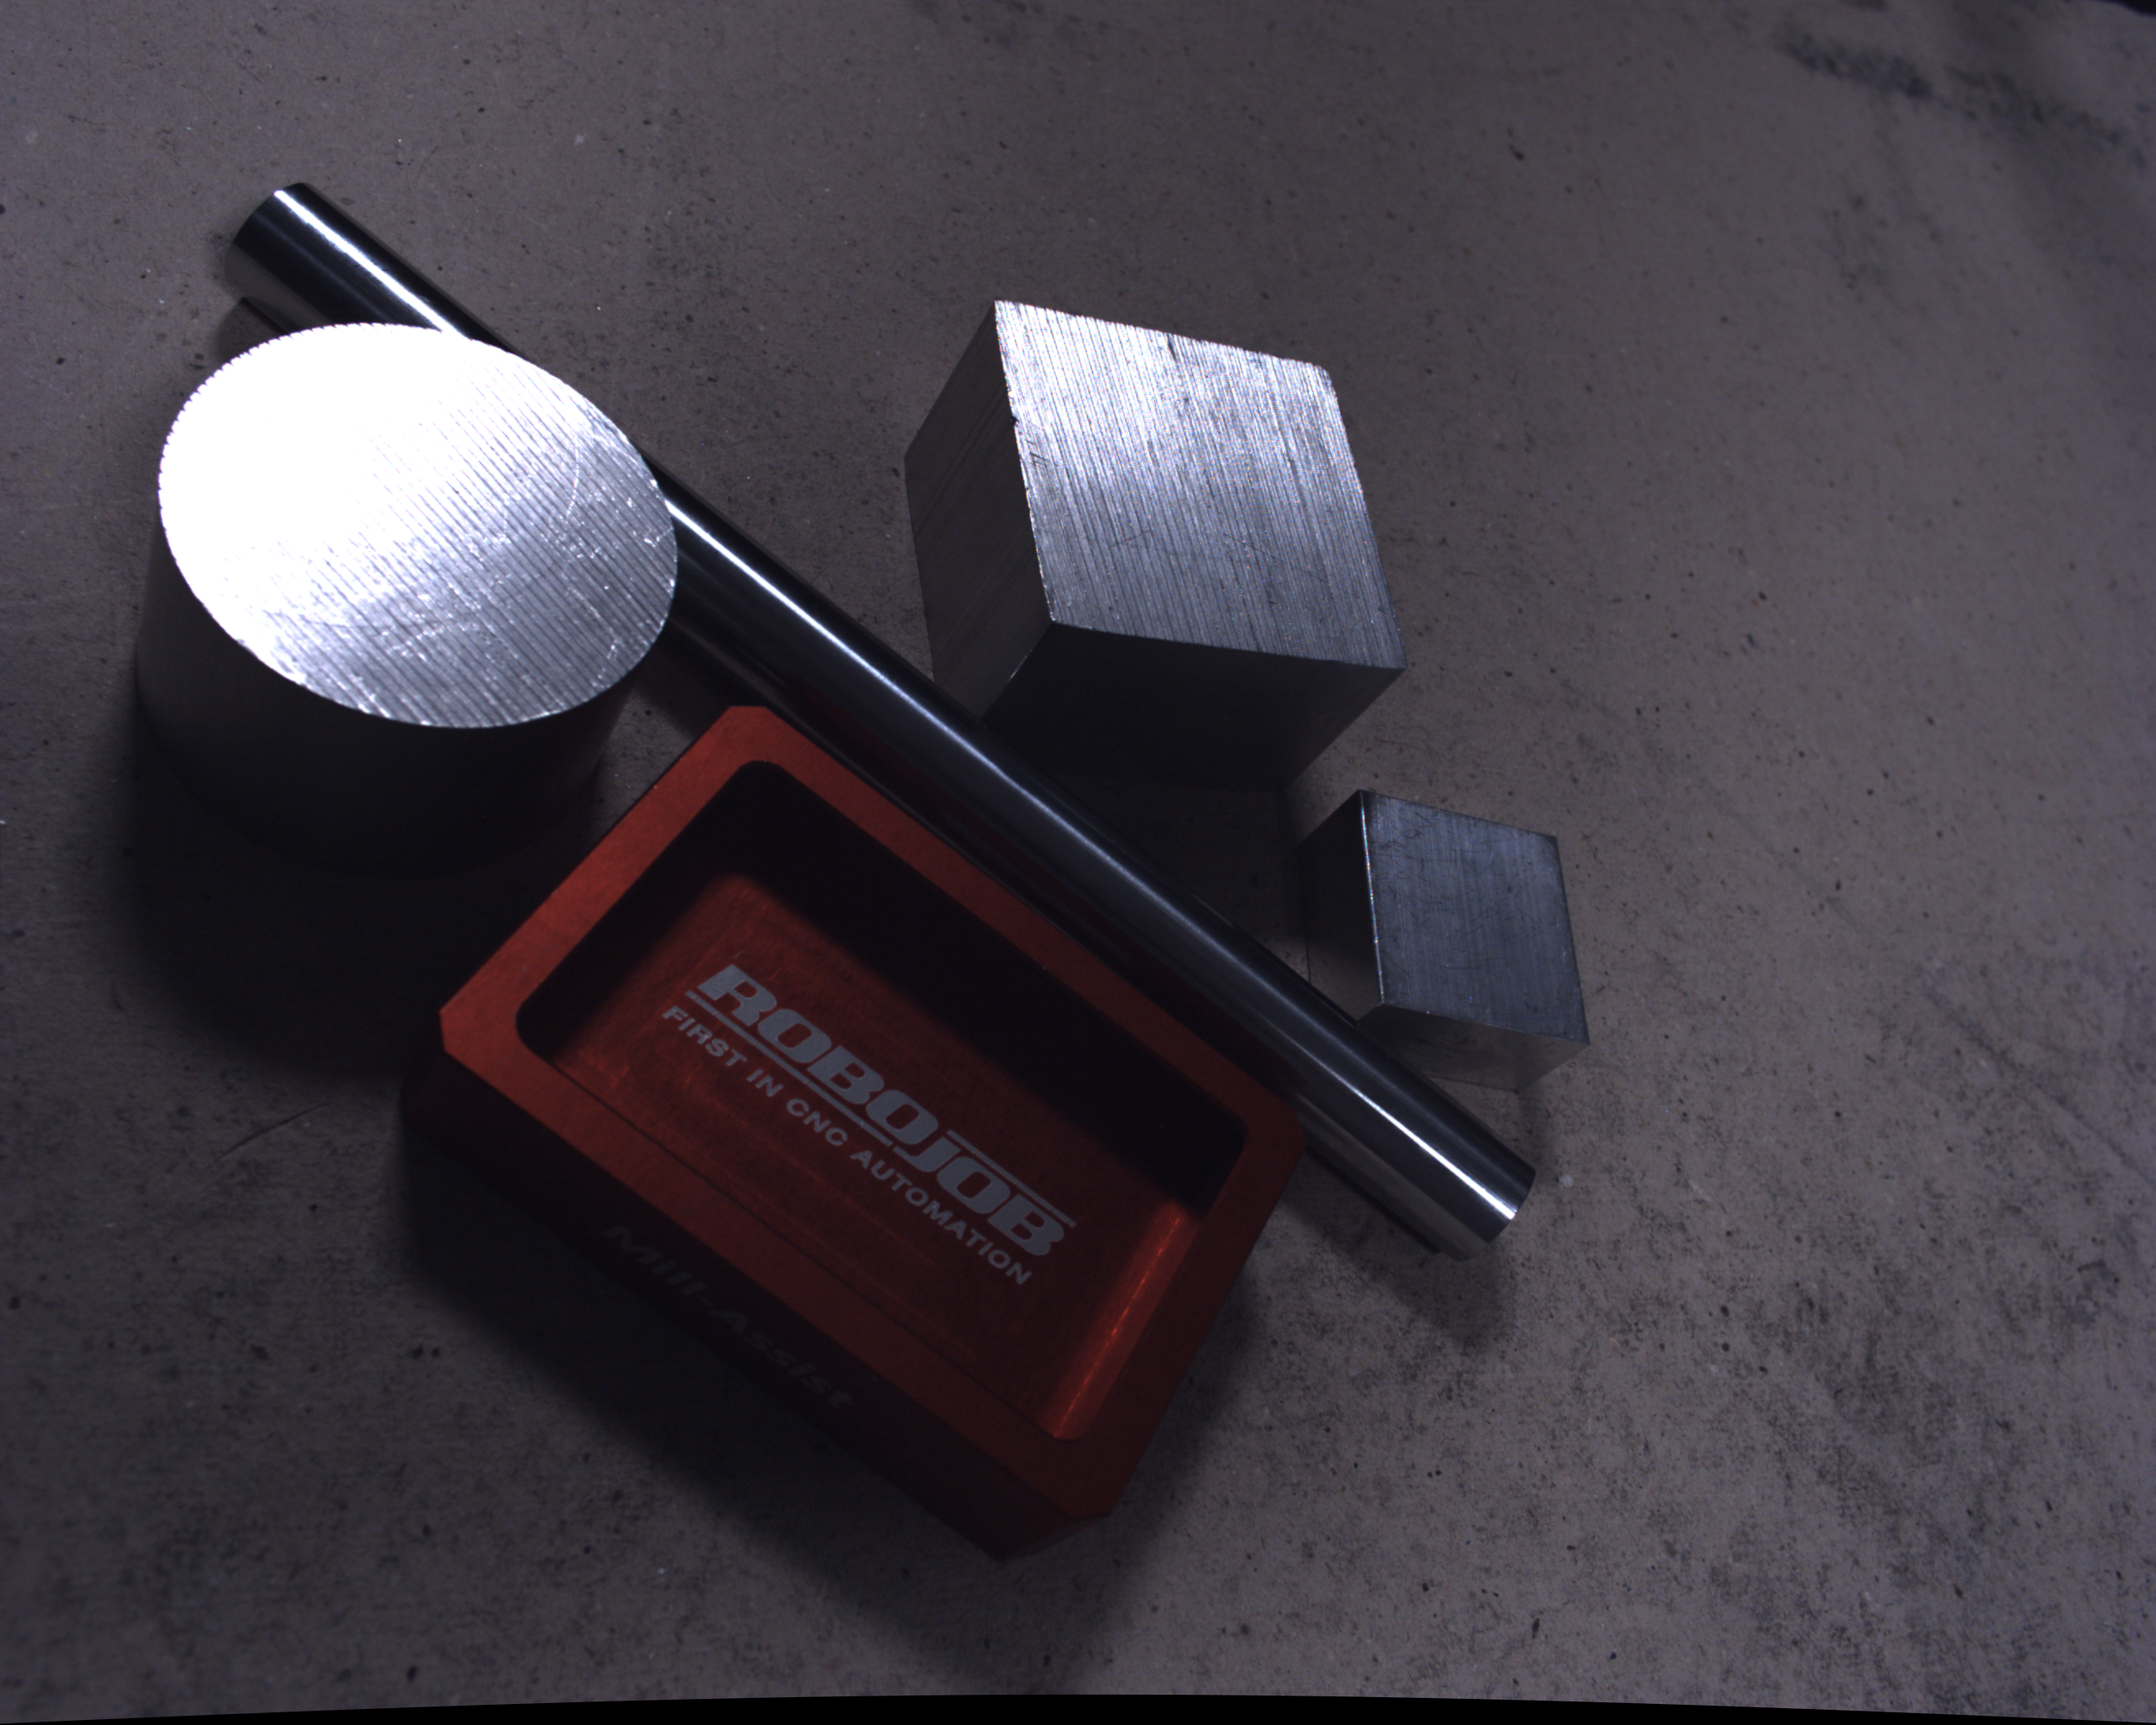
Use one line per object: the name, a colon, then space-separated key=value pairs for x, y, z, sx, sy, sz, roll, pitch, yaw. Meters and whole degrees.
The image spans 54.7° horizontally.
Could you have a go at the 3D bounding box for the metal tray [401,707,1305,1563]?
metal tray: x=-0.035 y=0.044 z=0.358 sx=0.130 sy=0.030 sz=0.090 roll=38 pitch=51 yaw=-3

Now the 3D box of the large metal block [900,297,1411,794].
large metal block: x=0.014 y=-0.064 z=0.437 sx=0.081 sy=0.050 sz=0.080 roll=4 pitch=60 yaw=-27

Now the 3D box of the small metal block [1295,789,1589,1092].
small metal block: x=0.076 y=0.017 z=0.438 sx=0.050 sy=0.025 sz=0.050 roll=12 pitch=57 yaw=-22

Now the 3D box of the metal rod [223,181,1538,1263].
metal rod: x=-0.036 y=-0.025 z=0.402 sx=0.300 sy=0.025 sz=0.025 roll=39 pitch=51 yaw=-3

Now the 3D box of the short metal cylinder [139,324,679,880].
short metal cylinder: x=-0.114 y=-0.044 z=0.355 sx=0.081 sy=0.050 sz=0.080 roll=14 pitch=56 yaw=-21
